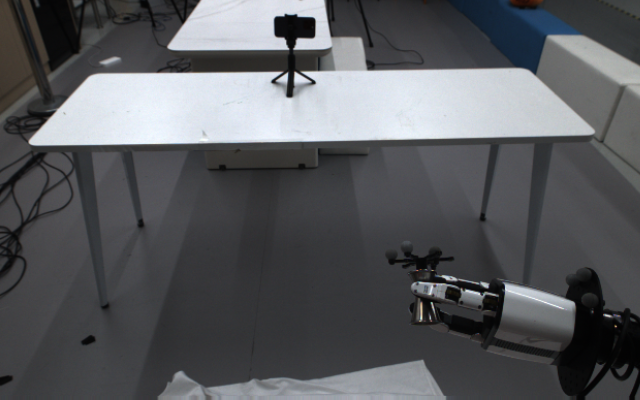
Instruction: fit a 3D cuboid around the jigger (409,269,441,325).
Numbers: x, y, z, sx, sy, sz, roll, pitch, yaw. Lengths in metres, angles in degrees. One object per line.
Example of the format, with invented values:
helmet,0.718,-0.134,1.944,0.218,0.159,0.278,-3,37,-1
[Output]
jigger,0.139,0.128,0.646,0.043,0.043,0.071,1,70,-2
